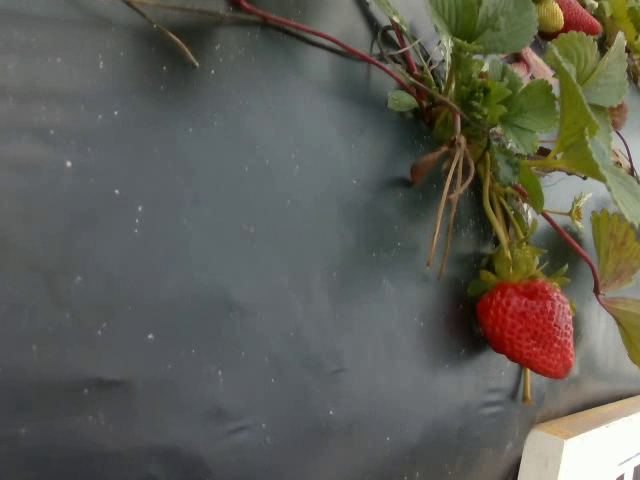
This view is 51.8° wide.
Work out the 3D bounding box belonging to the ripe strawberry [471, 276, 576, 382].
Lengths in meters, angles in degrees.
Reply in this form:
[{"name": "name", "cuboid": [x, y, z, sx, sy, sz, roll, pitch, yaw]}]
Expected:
[{"name": "ripe strawberry", "cuboid": [0.031, 0.013, 0.093, 0.014, 0.017, 0.018, -36, -24, 15]}]
